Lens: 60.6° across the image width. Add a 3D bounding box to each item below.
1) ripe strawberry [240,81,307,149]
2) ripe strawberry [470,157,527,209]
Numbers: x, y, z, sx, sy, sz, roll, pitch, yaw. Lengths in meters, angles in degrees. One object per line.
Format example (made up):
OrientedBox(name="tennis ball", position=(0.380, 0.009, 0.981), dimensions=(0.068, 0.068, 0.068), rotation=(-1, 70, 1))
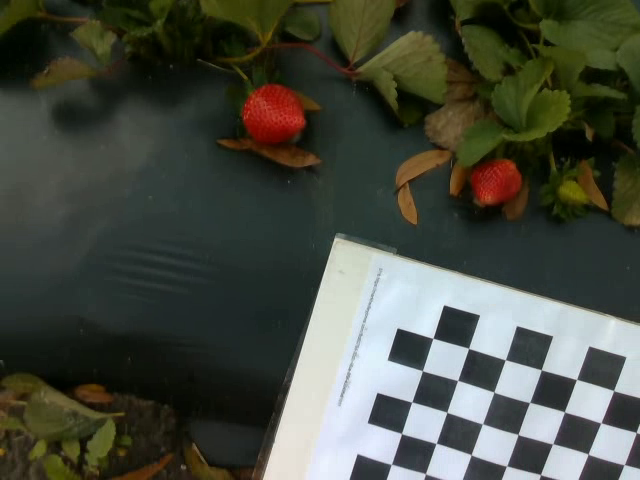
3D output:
OrientedBox(name="ripe strawberry", position=(-0.024, -0.087, 0.383), dimensions=(0.042, 0.047, 0.065), rotation=(16, 9, -36))
OrientedBox(name="ripe strawberry", position=(0.121, -0.036, 0.375), dimensions=(0.040, 0.042, 0.037), rotation=(28, -43, 2))
